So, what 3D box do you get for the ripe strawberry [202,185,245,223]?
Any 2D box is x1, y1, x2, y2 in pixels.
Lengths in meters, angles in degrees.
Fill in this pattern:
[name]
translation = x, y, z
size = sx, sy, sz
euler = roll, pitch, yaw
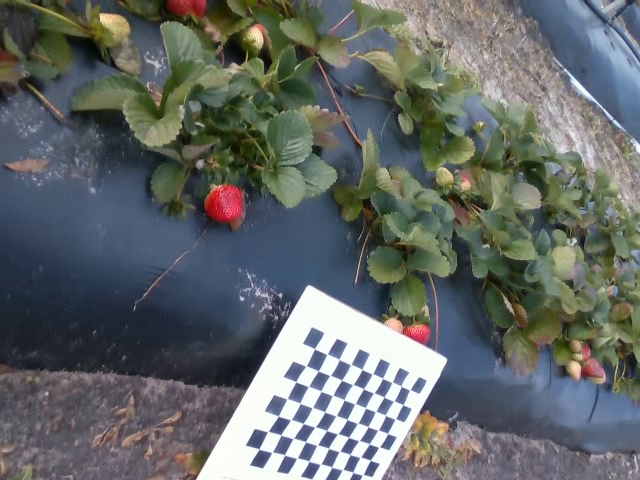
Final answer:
[ripe strawberry]
translation = -0.112, -0.040, 0.726
size = 0.050, 0.049, 0.053
euler = 22, 24, -42
